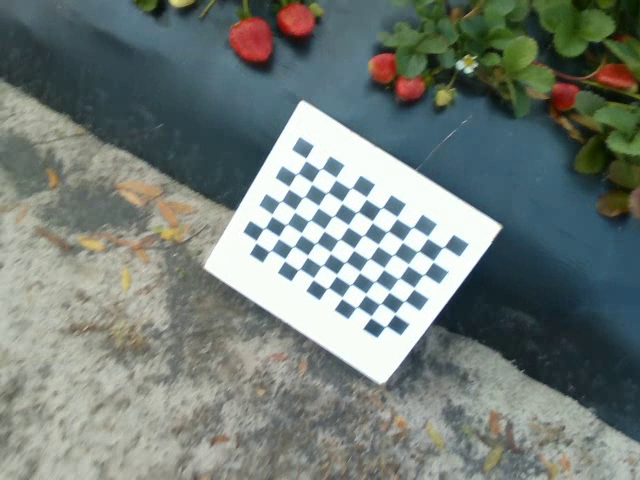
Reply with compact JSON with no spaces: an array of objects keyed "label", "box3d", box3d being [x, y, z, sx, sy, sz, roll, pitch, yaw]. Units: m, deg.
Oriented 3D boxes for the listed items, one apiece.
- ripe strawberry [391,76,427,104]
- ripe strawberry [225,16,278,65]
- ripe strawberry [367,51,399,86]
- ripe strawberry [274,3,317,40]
[{"label":"ripe strawberry","box3d":[0.131,-0.212,1.433,0.043,0.041,0.049,28,33,6]},{"label":"ripe strawberry","box3d":[-0.066,-0.271,1.442,0.058,0.065,0.043,-28,-19,13]},{"label":"ripe strawberry","box3d":[0.099,-0.239,1.448,0.053,0.047,0.038,7,9,-25]},{"label":"ripe strawberry","box3d":[-0.008,-0.299,1.460,0.050,0.060,0.051,-34,-52,13]}]
